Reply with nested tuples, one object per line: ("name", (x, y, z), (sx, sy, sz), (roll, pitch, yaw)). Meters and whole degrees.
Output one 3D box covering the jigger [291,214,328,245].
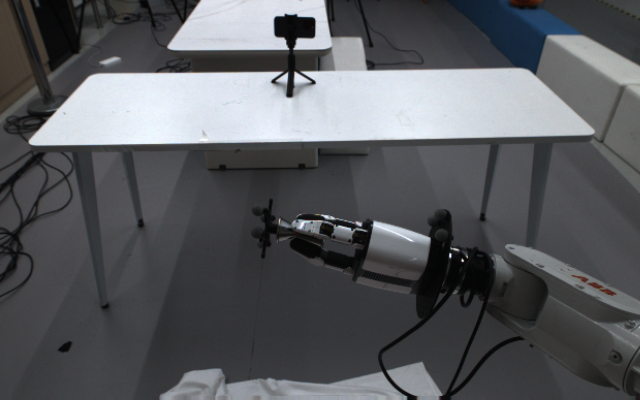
("jigger", (-0.020, 0.043, 0.711), (0.071, 0.043, 0.043), (5, 35, 2))
